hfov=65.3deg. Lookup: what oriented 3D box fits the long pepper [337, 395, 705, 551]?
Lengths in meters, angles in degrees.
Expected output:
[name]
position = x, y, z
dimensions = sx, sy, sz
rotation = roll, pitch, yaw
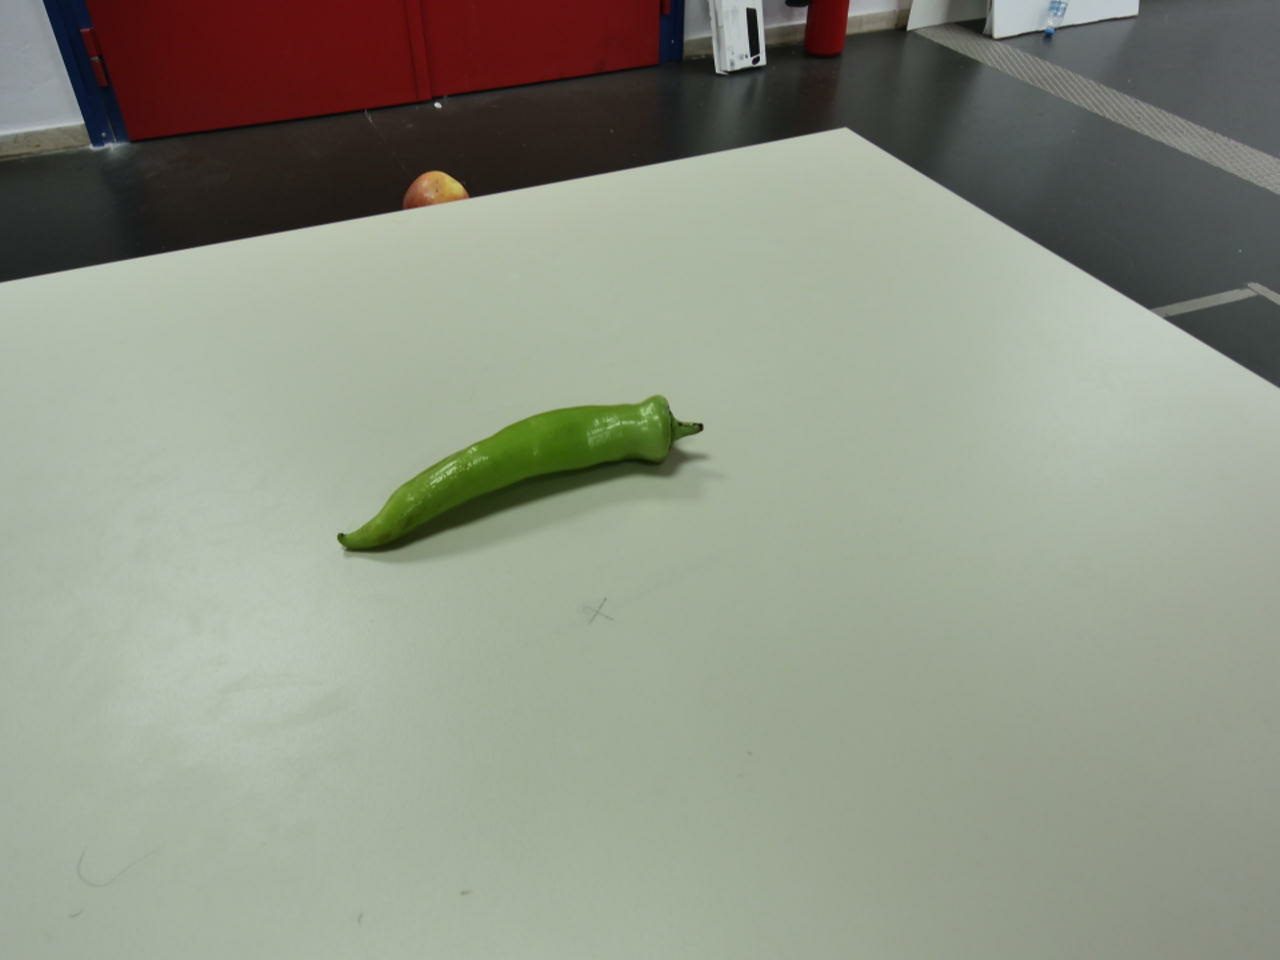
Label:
[long pepper]
position = -0.061, -0.011, 0.518
dimensions = 0.197, 0.038, 0.047
rotation = -15, 41, -18
